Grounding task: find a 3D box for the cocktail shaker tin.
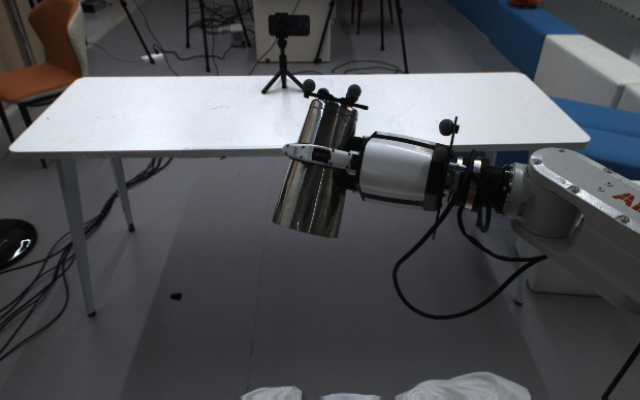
[{"bbox_3d":[-0.001,-0.043,0.651,0.093,0.170,0.093,14,2,0],"label":"cocktail shaker tin"}]
